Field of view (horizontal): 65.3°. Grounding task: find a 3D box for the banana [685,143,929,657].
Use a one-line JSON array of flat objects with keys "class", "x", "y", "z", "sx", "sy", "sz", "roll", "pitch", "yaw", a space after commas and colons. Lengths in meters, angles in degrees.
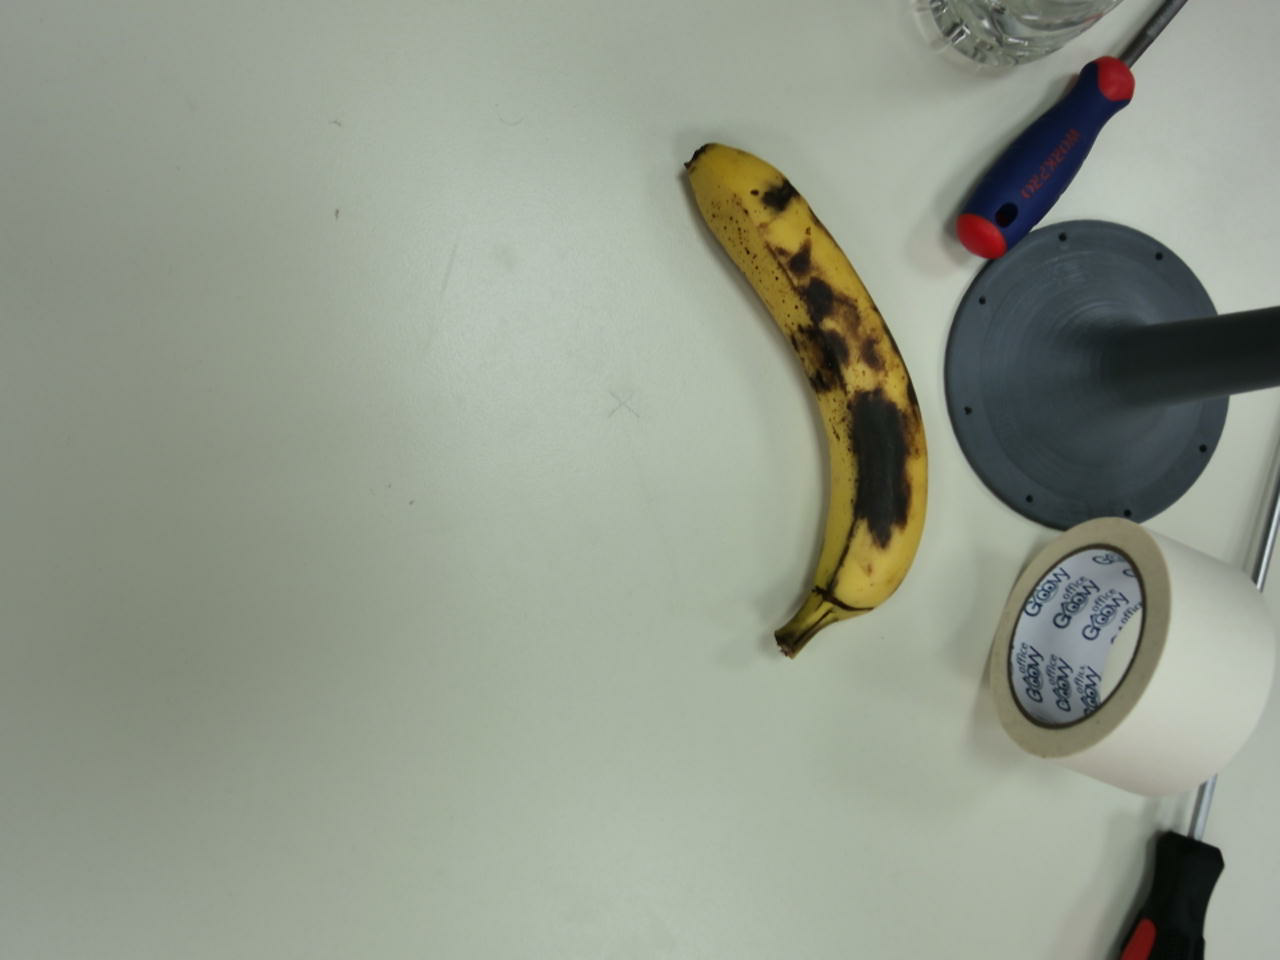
[{"class": "banana", "x": 0.080, "y": -0.039, "z": 0.435, "sx": 0.084, "sy": 0.037, "sz": 0.222, "roll": -10, "pitch": 92, "yaw": -11}]
